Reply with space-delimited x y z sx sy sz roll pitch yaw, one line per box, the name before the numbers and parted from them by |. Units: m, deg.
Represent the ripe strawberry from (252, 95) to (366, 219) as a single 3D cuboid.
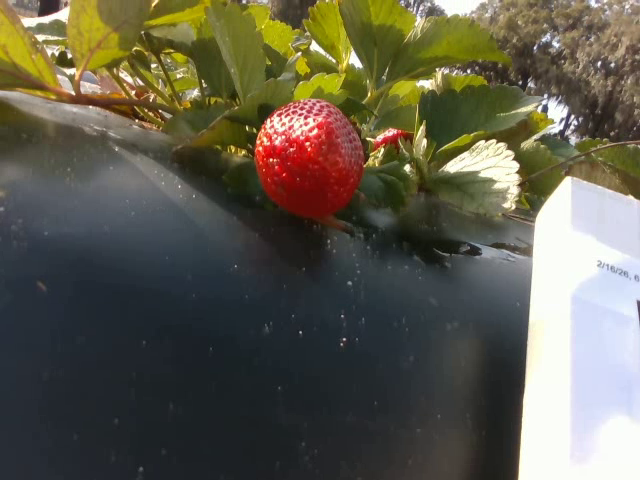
ripe strawberry | -0.001 -0.026 0.166 0.041 0.041 0.047 -11 1 -8
